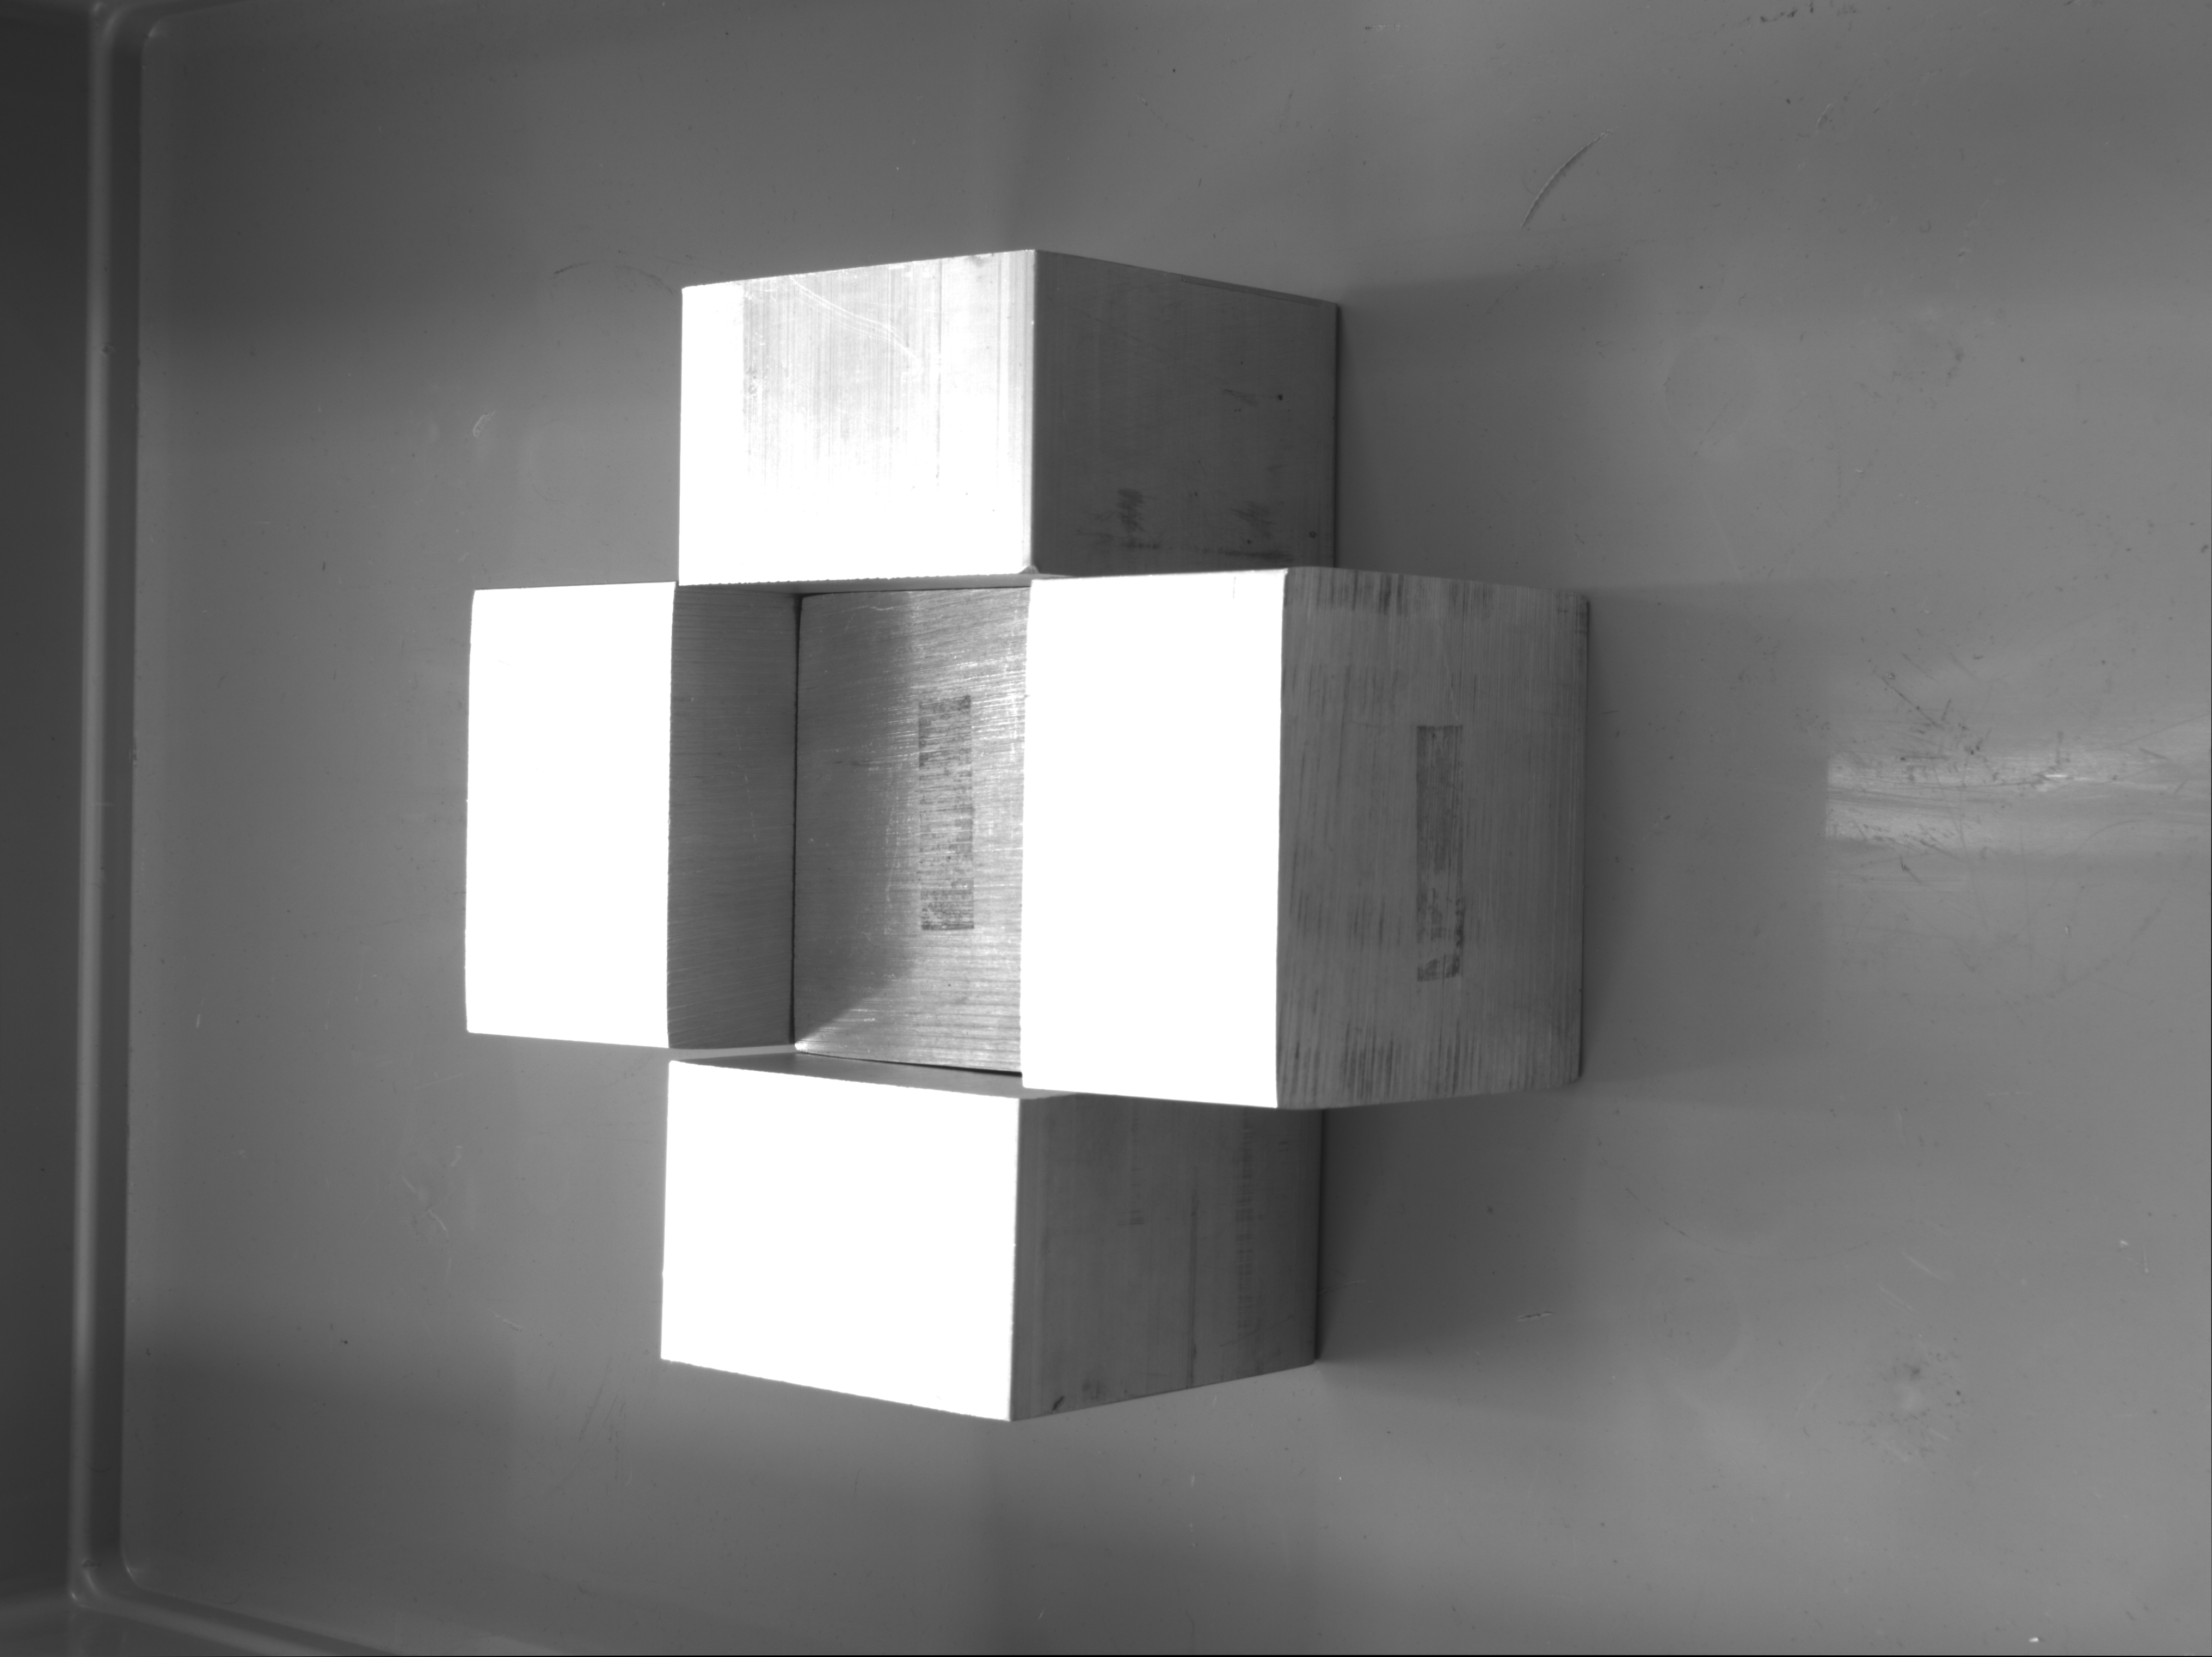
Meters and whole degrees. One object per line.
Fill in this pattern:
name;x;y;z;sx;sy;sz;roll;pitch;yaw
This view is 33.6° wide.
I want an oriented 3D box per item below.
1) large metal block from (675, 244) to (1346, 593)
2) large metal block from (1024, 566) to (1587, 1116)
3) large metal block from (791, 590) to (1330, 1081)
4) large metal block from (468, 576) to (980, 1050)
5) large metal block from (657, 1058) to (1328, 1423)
large metal block;-0.016;-0.065;0.621;0.080;0.080;0.050;1;90;40
large metal block;0.033;0.002;0.581;0.050;0.080;0.080;1;90;40
large metal block;-0.008;0.000;0.633;0.080;0.050;0.080;1;90;40
large metal block;-0.068;-0.003;0.666;0.050;0.080;0.080;1;90;40
large metal block;-0.019;0.066;0.623;0.080;0.080;0.050;2;91;40
